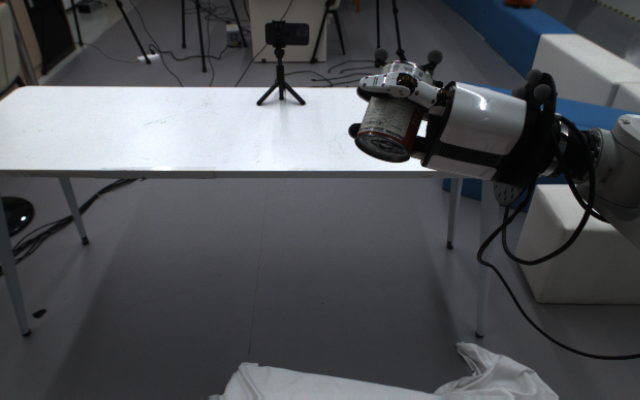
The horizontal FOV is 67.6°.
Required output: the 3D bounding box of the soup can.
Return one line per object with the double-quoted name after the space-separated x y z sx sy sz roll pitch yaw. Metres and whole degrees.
0.090 -0.106 0.579 0.067 0.067 0.101 15 75 18 "soup can"
